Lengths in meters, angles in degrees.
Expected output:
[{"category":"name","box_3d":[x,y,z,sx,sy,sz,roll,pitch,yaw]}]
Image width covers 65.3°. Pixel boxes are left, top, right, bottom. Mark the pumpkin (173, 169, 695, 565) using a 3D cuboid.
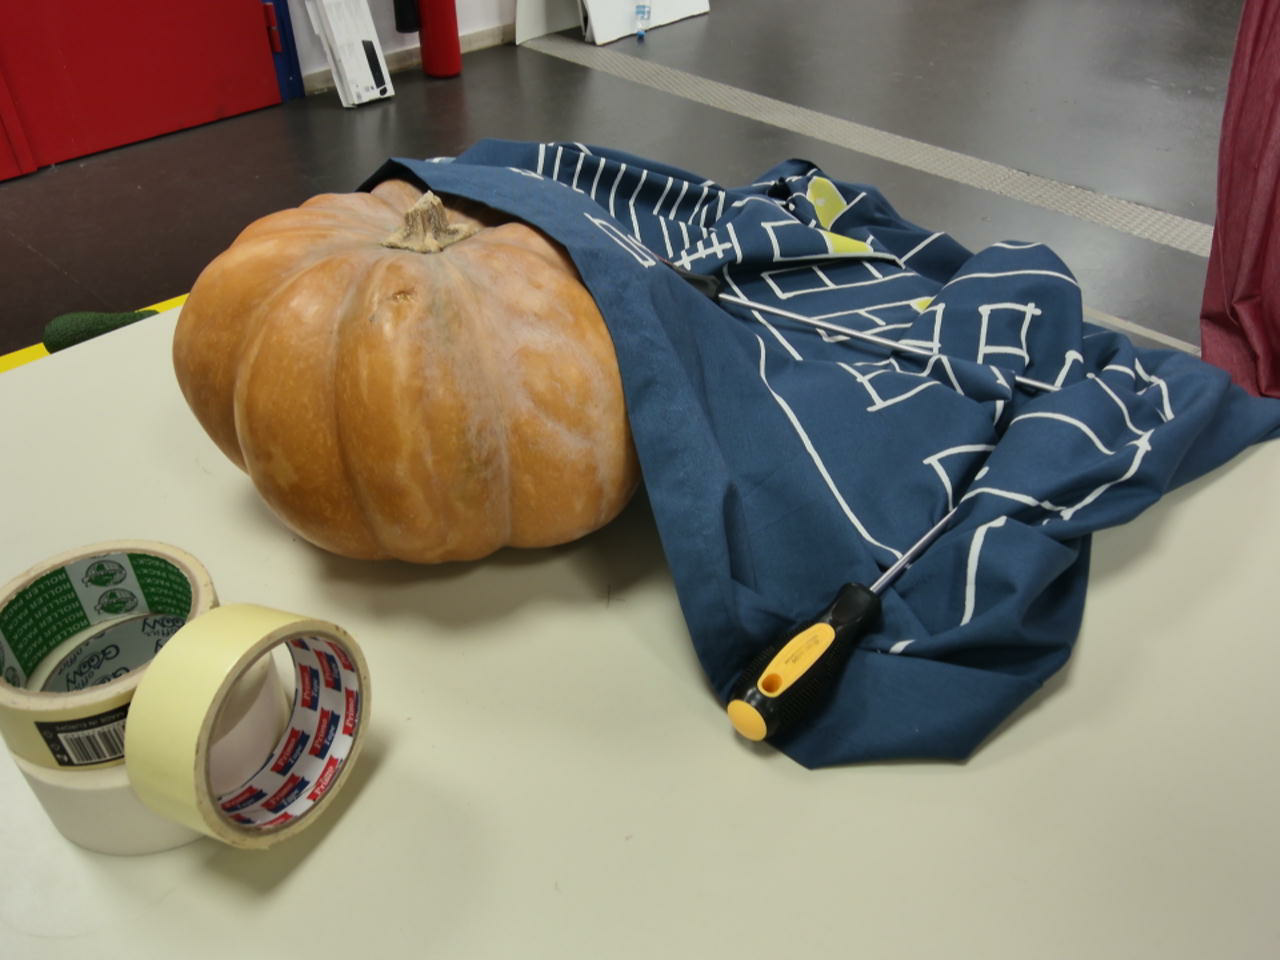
[{"category":"pumpkin","box_3d":[-0.107,-0.066,0.554,0.277,0.181,0.277,0,38,0]}]
